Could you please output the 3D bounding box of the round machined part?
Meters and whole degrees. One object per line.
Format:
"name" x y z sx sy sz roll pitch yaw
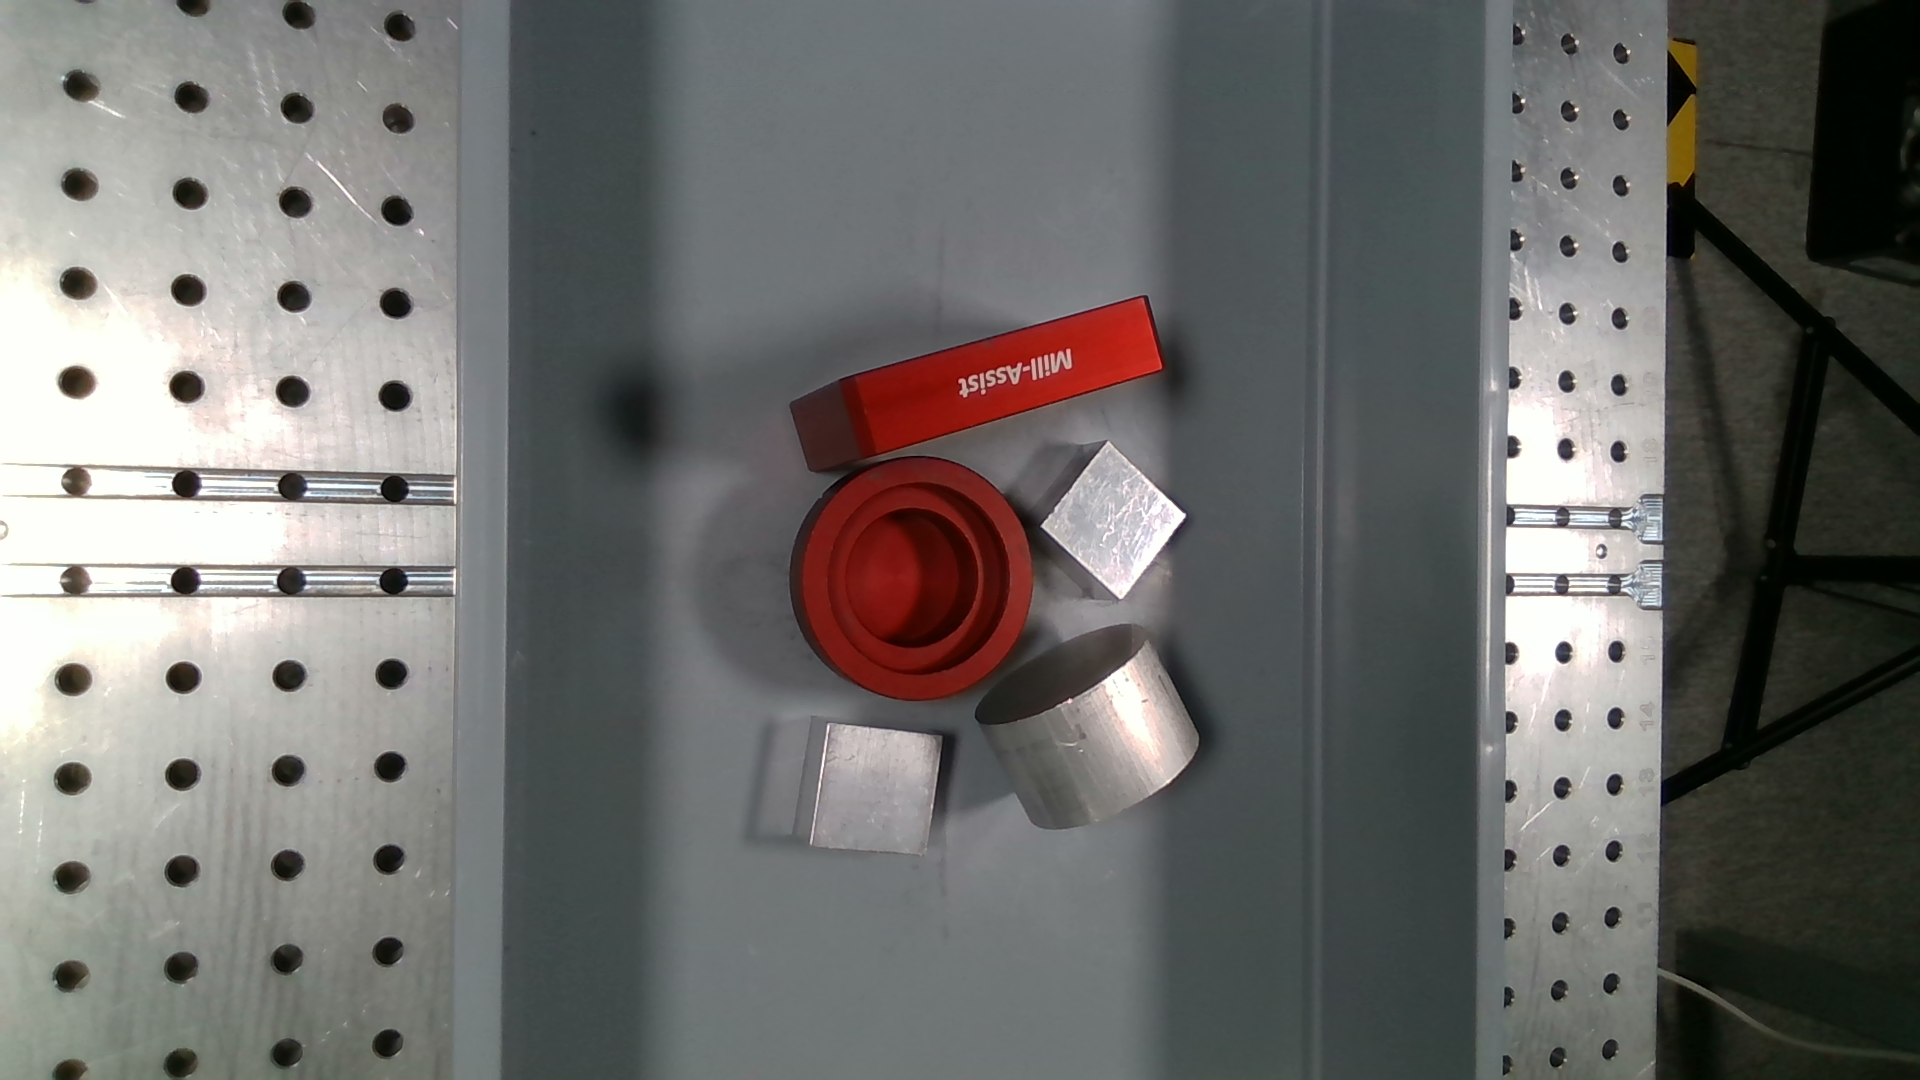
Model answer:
"round machined part" -0.022 0.015 0.566 0.098 0.042 0.098 0 90 -20

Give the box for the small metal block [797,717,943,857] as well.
"small metal block" -0.038 0.102 0.571 0.050 0.025 0.050 10 85 -21

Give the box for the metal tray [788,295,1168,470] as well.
"metal tray" 0.005 -0.062 0.551 0.130 0.090 0.030 -18 96 -20

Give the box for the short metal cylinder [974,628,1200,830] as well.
"short metal cylinder" 0.053 0.077 0.575 0.080 0.080 0.050 -31 100 -18

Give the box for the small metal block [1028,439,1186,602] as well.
"small metal block" 0.062 -0.008 0.608 0.050 0.025 0.050 42 75 -15
